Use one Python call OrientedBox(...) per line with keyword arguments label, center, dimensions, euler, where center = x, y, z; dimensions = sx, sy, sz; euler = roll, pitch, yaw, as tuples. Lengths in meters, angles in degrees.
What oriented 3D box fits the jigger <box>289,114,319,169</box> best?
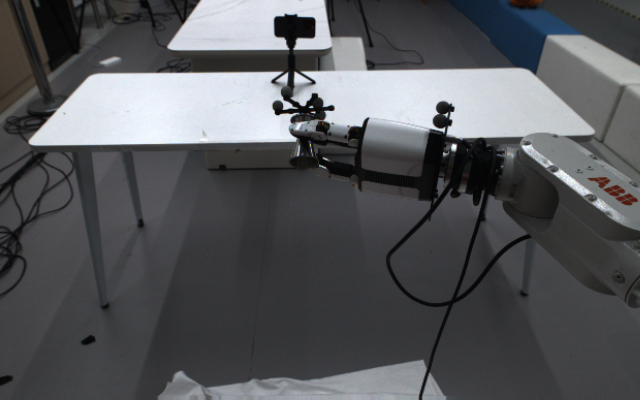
OrientedBox(label="jigger", center=(-0.023, -0.086, 0.692), dimensions=(0.043, 0.043, 0.071), euler=(1, 70, -2))
